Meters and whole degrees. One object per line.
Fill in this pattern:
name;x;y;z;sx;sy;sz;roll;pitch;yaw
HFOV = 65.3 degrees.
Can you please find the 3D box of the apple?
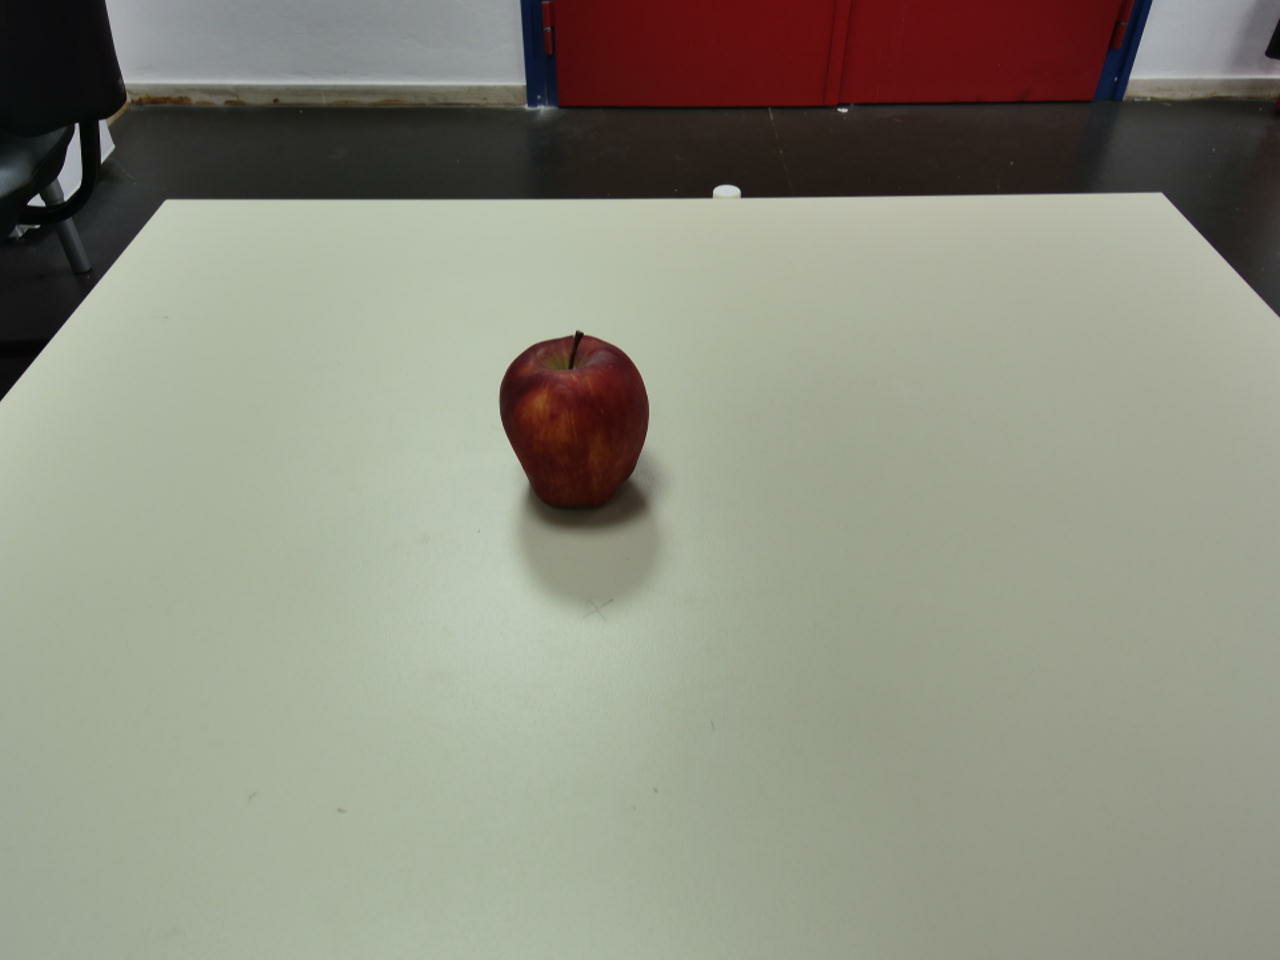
apple;-0.035;-0.036;0.516;0.083;0.090;0.083;-1;39;1
